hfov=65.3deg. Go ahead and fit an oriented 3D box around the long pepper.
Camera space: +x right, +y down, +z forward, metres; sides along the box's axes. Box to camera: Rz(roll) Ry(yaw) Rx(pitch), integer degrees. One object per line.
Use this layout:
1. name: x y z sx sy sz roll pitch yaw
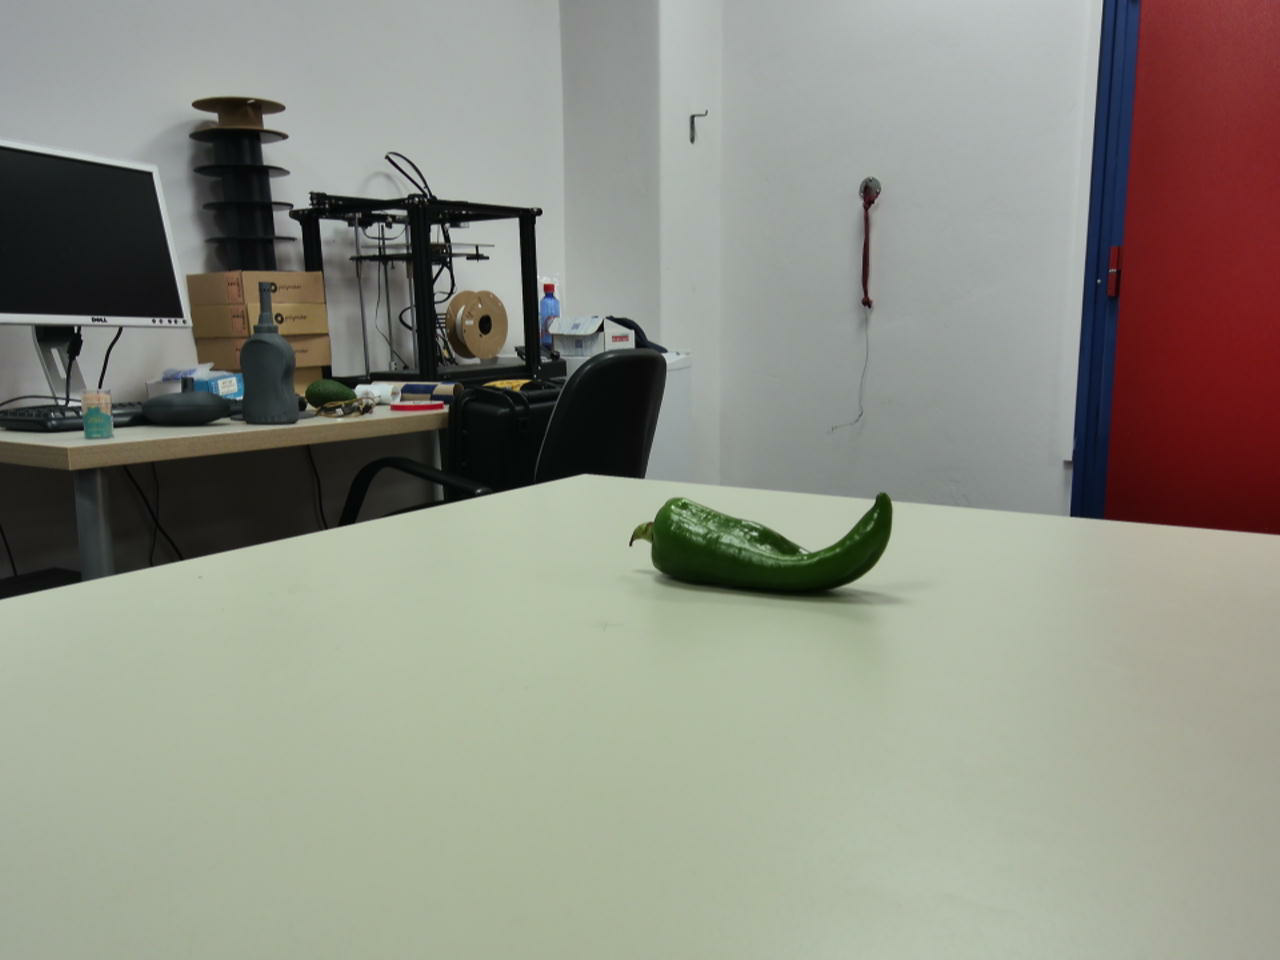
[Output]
1. long pepper: 0.069 0.035 0.627 0.175 0.065 0.058 5 8 33
